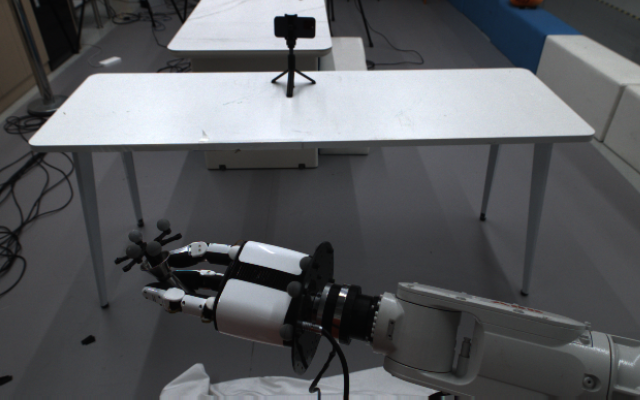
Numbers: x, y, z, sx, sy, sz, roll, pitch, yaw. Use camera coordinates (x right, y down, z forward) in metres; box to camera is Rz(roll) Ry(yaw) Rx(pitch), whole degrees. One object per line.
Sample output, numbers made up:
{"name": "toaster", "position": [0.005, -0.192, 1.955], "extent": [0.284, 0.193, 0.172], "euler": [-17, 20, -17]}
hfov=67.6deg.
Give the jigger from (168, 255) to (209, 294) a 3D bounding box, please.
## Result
{"name": "jigger", "position": [-0.192, 0.103, 0.627], "extent": [0.043, 0.071, 0.043], "euler": [-20, 24, 9]}
